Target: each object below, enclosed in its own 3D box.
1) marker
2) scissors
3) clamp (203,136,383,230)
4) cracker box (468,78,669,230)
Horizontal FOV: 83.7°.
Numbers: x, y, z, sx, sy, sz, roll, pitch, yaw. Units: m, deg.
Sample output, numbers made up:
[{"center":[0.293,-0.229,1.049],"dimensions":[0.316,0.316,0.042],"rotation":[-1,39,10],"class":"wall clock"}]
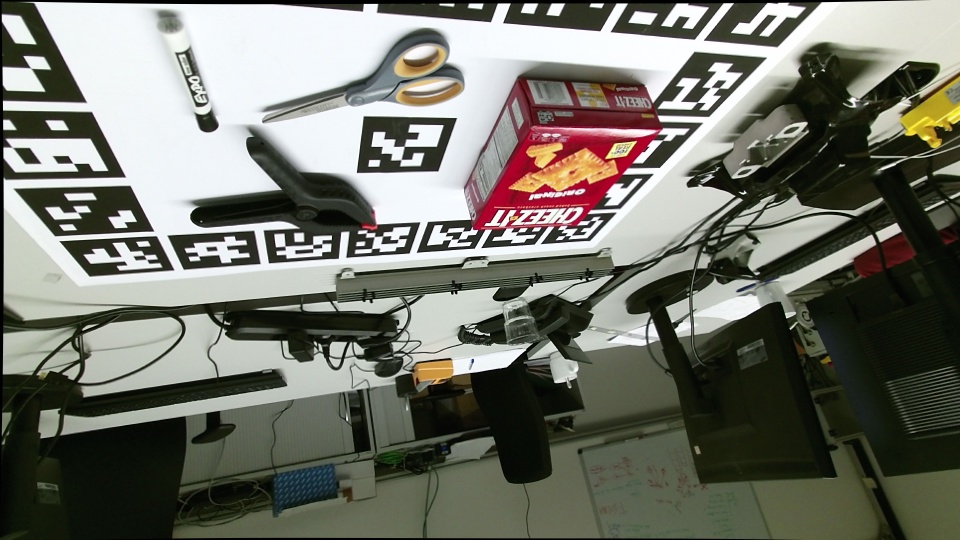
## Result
[{"center":[-0.238,-0.155,0.464],"dimensions":[0.020,0.019,0.121],"rotation":[-7,157,-17],"class":"marker"},{"center":[-0.106,-0.167,0.517],"dimensions":[0.203,0.016,0.088],"rotation":[-15,159,8],"class":"scissors"},{"center":[-0.205,-0.085,0.663],"dimensions":[0.165,0.036,0.203],"rotation":[-29,153,35],"class":"clamp"},{"center":[0.096,-0.130,0.657],"dimensions":[0.165,0.071,0.214],"rotation":[-5,156,-21],"class":"cracker box"}]
